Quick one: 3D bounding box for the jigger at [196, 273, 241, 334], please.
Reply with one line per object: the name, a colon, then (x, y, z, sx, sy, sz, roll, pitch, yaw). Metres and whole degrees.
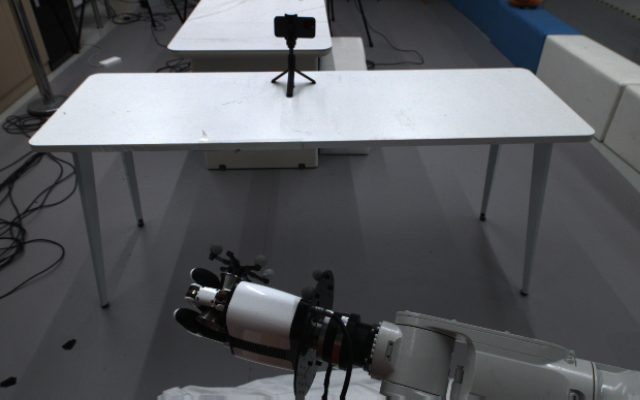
jigger: (-0.125, 0.135, 0.639, 0.043, 0.043, 0.071, 13, 58, 16)
